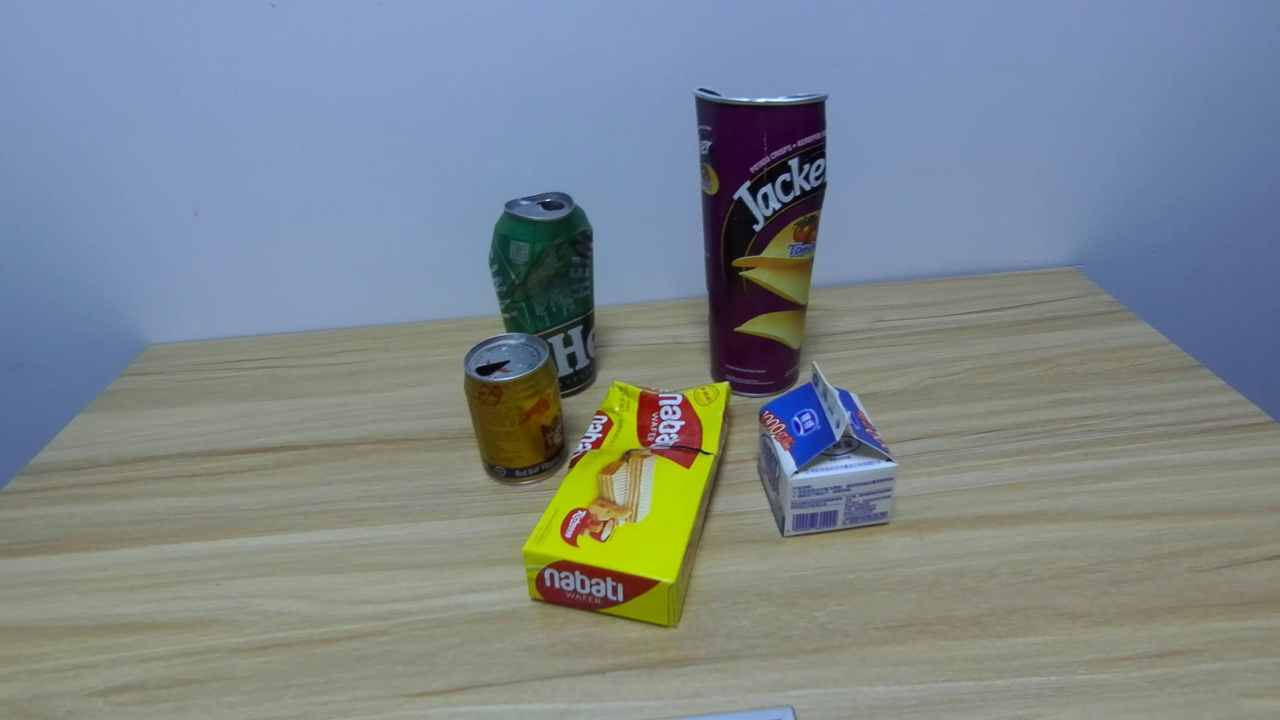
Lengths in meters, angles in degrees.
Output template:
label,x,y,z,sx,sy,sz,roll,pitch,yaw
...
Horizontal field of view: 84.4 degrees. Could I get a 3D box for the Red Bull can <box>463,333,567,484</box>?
label,x,y,z,sx,sy,sz,roll,pitch,yaw
Red Bull can,-0.090,0.035,0.516,0.067,0.093,0.067,-2,33,2

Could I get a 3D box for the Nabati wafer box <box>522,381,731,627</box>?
label,x,y,z,sx,sy,sz,roll,pitch,yaw
Nabati wafer box,-0.001,0.077,0.487,0.106,0.042,0.204,6,34,15

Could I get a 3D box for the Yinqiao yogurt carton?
label,x,y,z,sx,sy,sz,roll,pitch,yaw
Yinqiao yogurt carton,0.121,0.054,0.462,0.074,0.092,0.075,-7,32,-2

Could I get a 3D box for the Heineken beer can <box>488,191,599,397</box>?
label,x,y,z,sx,sy,sz,roll,pitch,yaw
Heineken beer can,-0.076,-0.050,0.577,0.077,0.164,0.066,0,33,1

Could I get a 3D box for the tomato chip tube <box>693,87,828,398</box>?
label,x,y,z,sx,sy,sz,roll,pitch,yaw
tomato chip tube,0.092,-0.087,0.551,0.076,0.235,0.077,-14,33,-16
